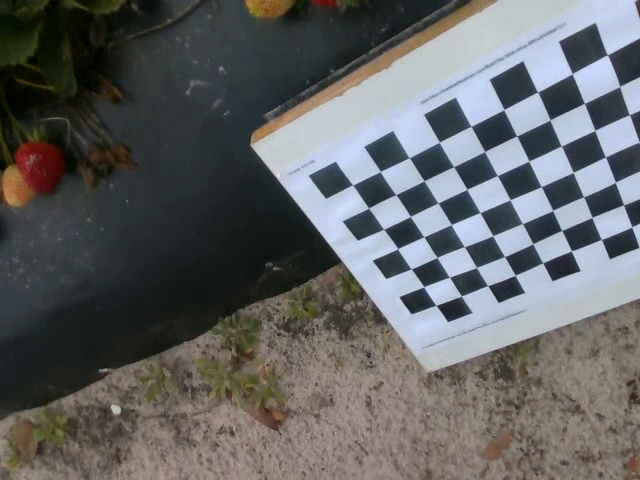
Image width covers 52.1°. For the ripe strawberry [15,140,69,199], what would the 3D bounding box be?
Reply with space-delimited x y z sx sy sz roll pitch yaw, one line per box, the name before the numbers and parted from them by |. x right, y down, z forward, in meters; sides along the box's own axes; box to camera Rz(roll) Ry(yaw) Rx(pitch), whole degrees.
ripe strawberry | -0.199 -0.050 0.460 0.034 0.042 0.033 1 -21 3
